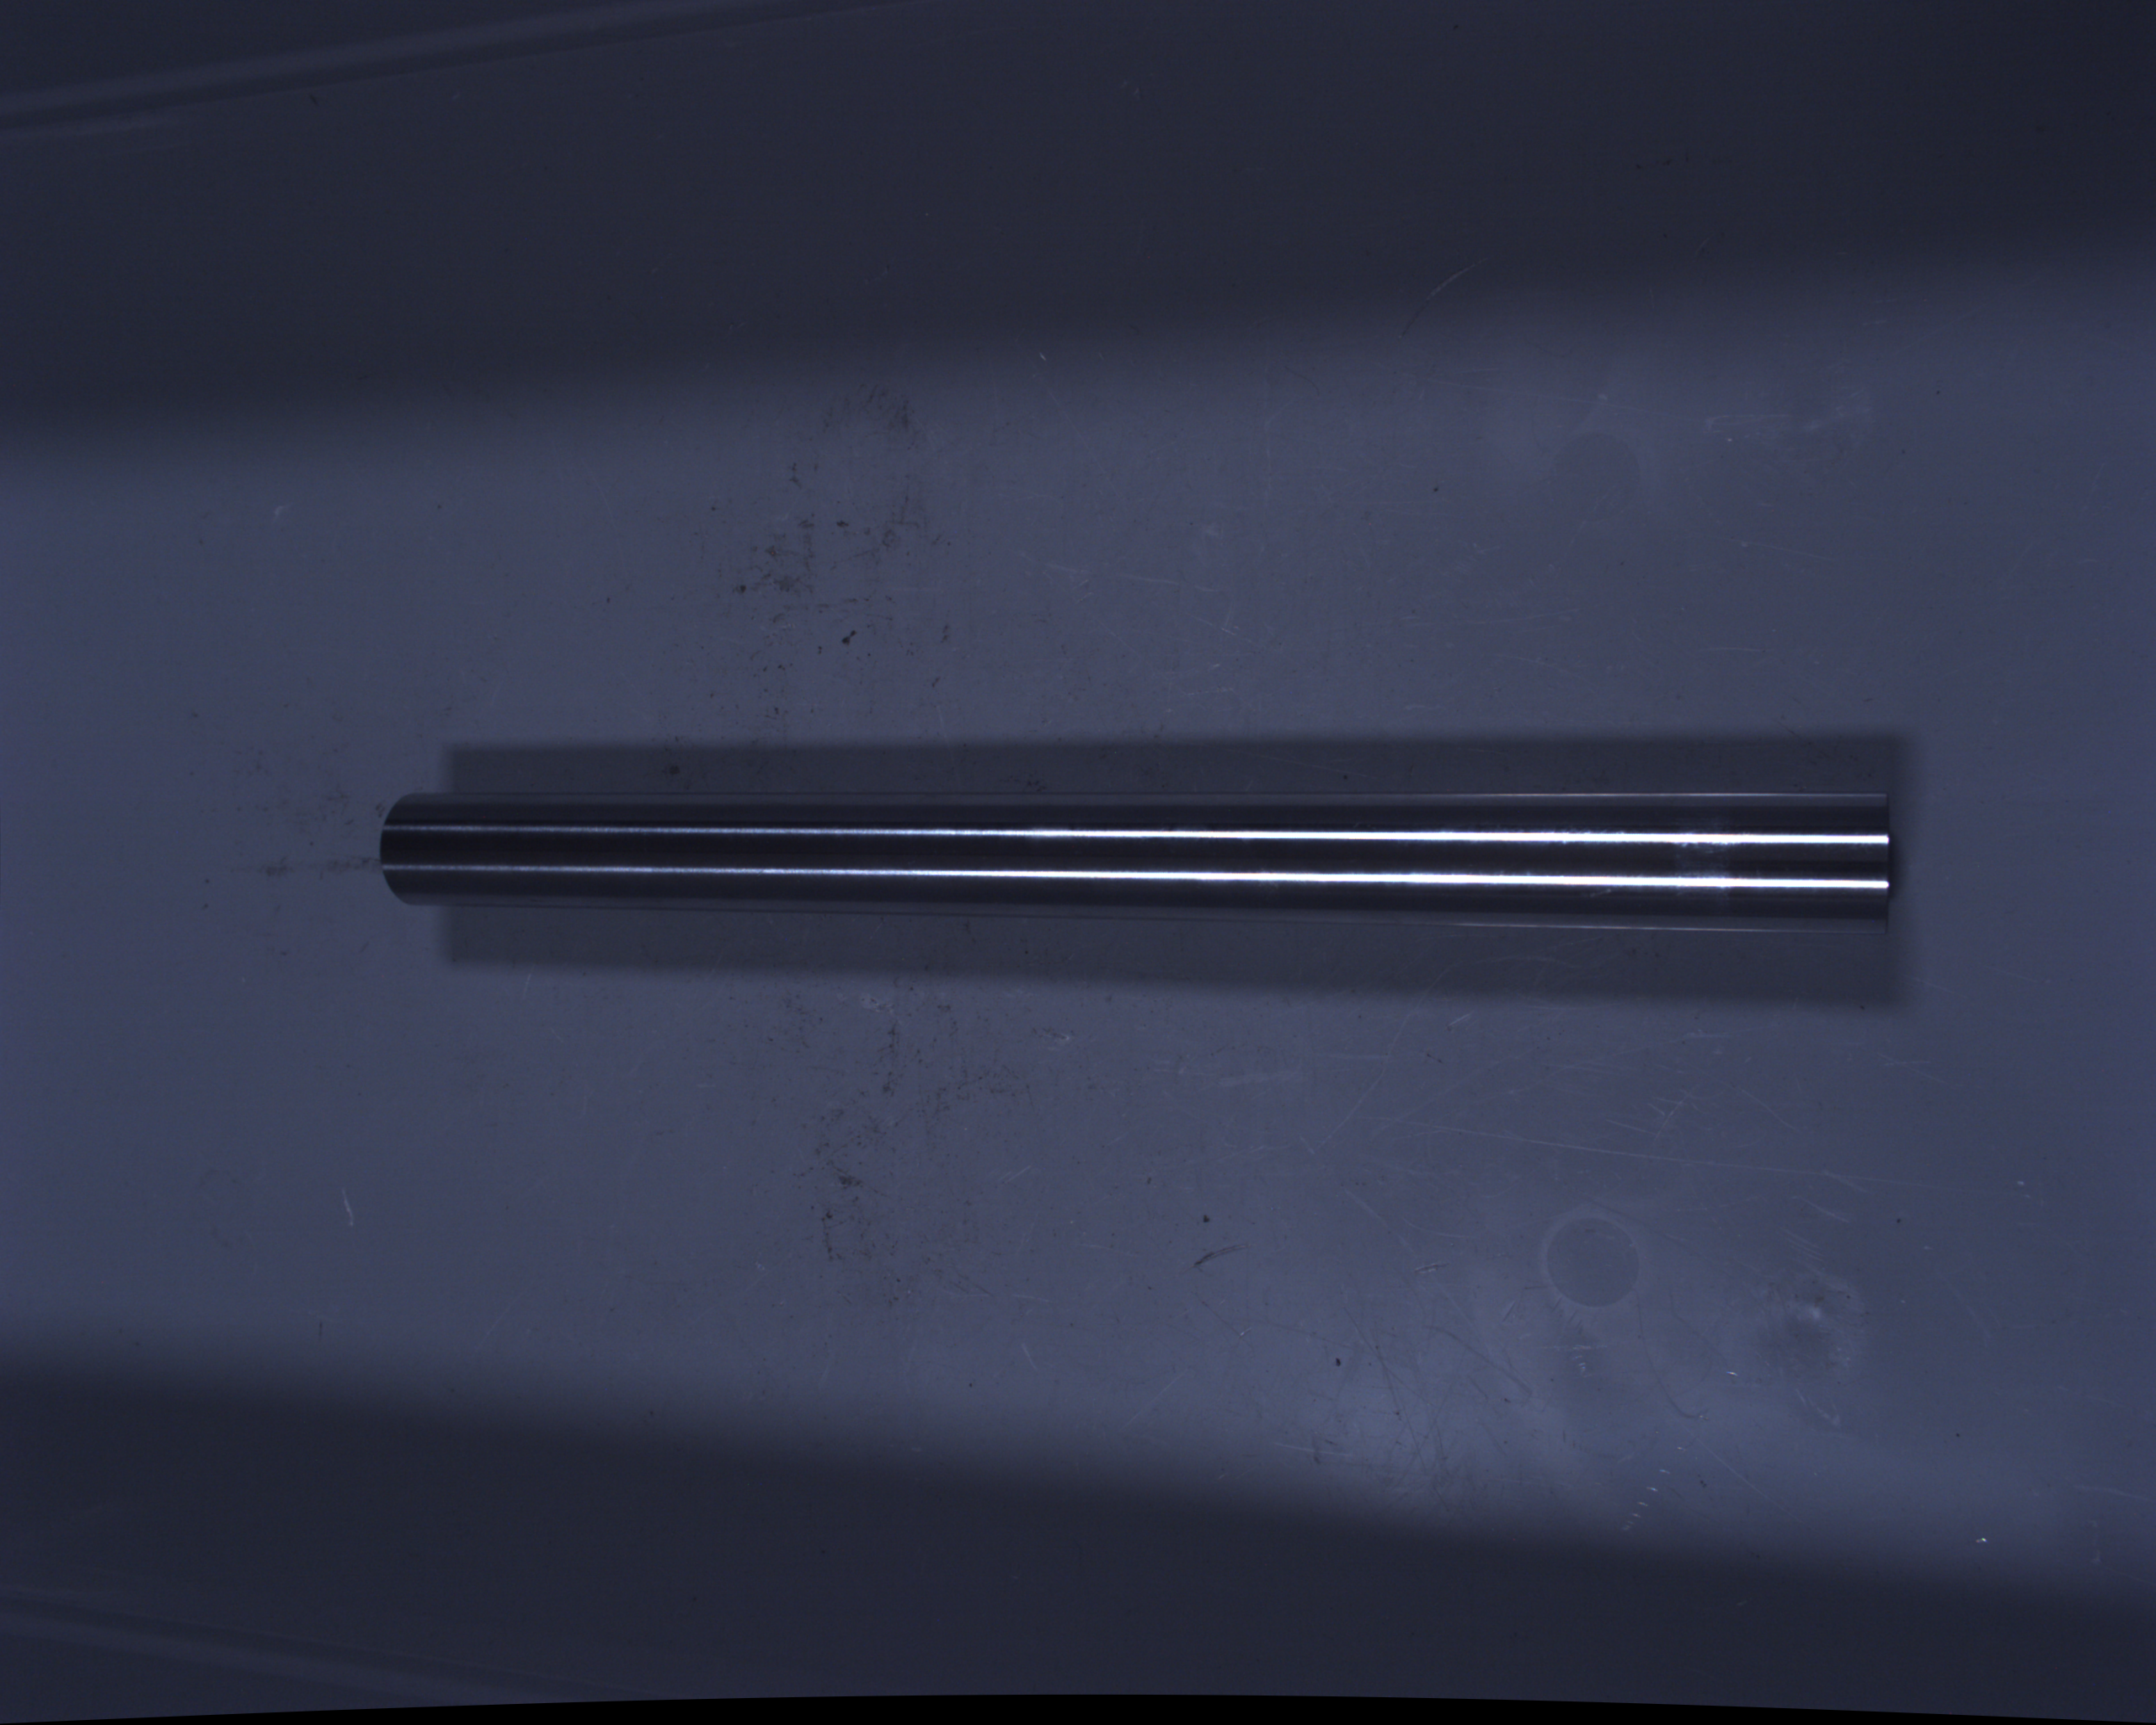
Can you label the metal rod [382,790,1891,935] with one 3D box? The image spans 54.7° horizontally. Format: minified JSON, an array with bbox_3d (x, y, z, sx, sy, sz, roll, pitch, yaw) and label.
[{"bbox_3d":[-0.003,-0.001,0.408,0.301,0.025,0.025,1,90,19],"label":"metal rod"}]
